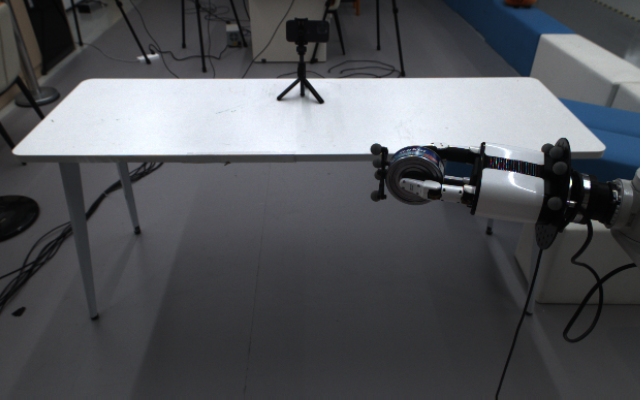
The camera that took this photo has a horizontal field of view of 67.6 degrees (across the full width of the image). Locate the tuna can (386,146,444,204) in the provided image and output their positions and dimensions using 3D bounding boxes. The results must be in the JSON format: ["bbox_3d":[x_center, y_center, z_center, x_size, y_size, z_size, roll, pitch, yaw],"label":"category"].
[{"bbox_3d":[0.144,-0.035,0.718,0.085,0.085,0.034,9,32,10],"label":"tuna can"}]
